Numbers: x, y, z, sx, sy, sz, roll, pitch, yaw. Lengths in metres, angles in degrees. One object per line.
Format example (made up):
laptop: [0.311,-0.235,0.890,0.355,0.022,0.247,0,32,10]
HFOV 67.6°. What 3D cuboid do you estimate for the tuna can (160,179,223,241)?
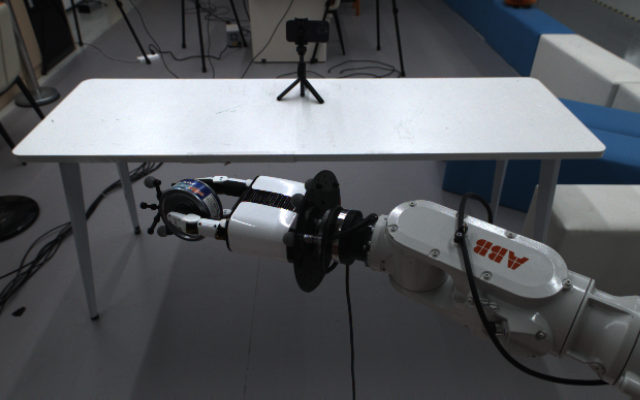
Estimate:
tuna can: [-0.180,0.017,0.679,0.085,0.085,0.034,12,29,14]
